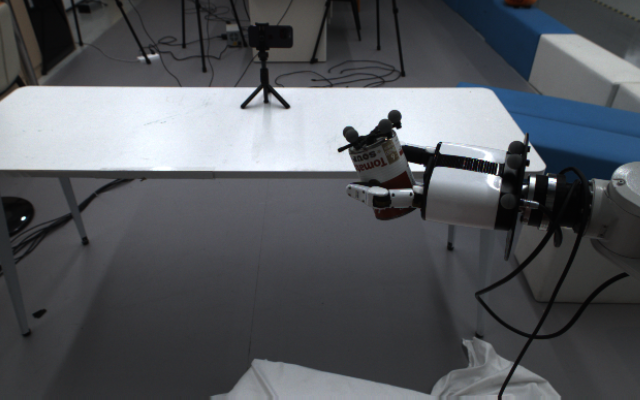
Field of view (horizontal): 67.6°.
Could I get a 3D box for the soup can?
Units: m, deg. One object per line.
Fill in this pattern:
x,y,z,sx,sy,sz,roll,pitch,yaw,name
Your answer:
0.088,-0.034,0.642,0.067,0.101,0.067,-23,16,7,soup can
